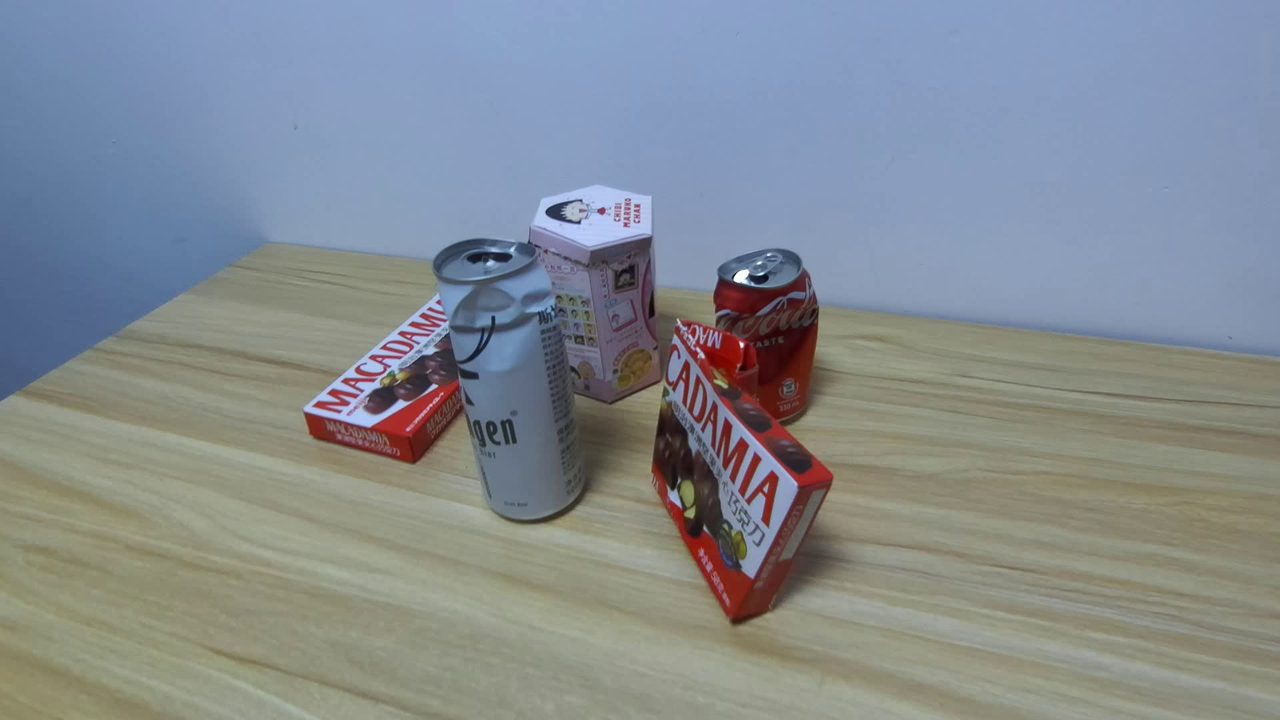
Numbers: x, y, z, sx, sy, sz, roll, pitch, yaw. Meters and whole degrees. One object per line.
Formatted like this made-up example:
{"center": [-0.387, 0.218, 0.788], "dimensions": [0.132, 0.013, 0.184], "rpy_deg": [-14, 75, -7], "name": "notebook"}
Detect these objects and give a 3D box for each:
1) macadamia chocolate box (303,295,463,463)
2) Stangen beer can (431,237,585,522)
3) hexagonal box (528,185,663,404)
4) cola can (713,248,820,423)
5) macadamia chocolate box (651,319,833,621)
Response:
{"center": [-0.161, 0.001, 0.558], "dimensions": [0.102, 0.027, 0.187], "rpy_deg": [12, 40, 18], "name": "macadamia chocolate box"}
{"center": [-0.072, 0.015, 0.410], "dimensions": [0.066, 0.166, 0.065], "rpy_deg": [-8, 34, -5], "name": "Stangen beer can"}
{"center": [-0.029, -0.048, 0.514], "dimensions": [0.085, 0.135, 0.092], "rpy_deg": [-2, 36, 3], "name": "hexagonal box"}
{"center": [0.083, -0.015, 0.472], "dimensions": [0.069, 0.113, 0.065], "rpy_deg": [-4, 36, 1], "name": "cola can"}
{"center": [0.047, 0.055, 0.380], "dimensions": [0.056, 0.112, 0.126], "rpy_deg": [-13, 36, -13], "name": "macadamia chocolate box"}
